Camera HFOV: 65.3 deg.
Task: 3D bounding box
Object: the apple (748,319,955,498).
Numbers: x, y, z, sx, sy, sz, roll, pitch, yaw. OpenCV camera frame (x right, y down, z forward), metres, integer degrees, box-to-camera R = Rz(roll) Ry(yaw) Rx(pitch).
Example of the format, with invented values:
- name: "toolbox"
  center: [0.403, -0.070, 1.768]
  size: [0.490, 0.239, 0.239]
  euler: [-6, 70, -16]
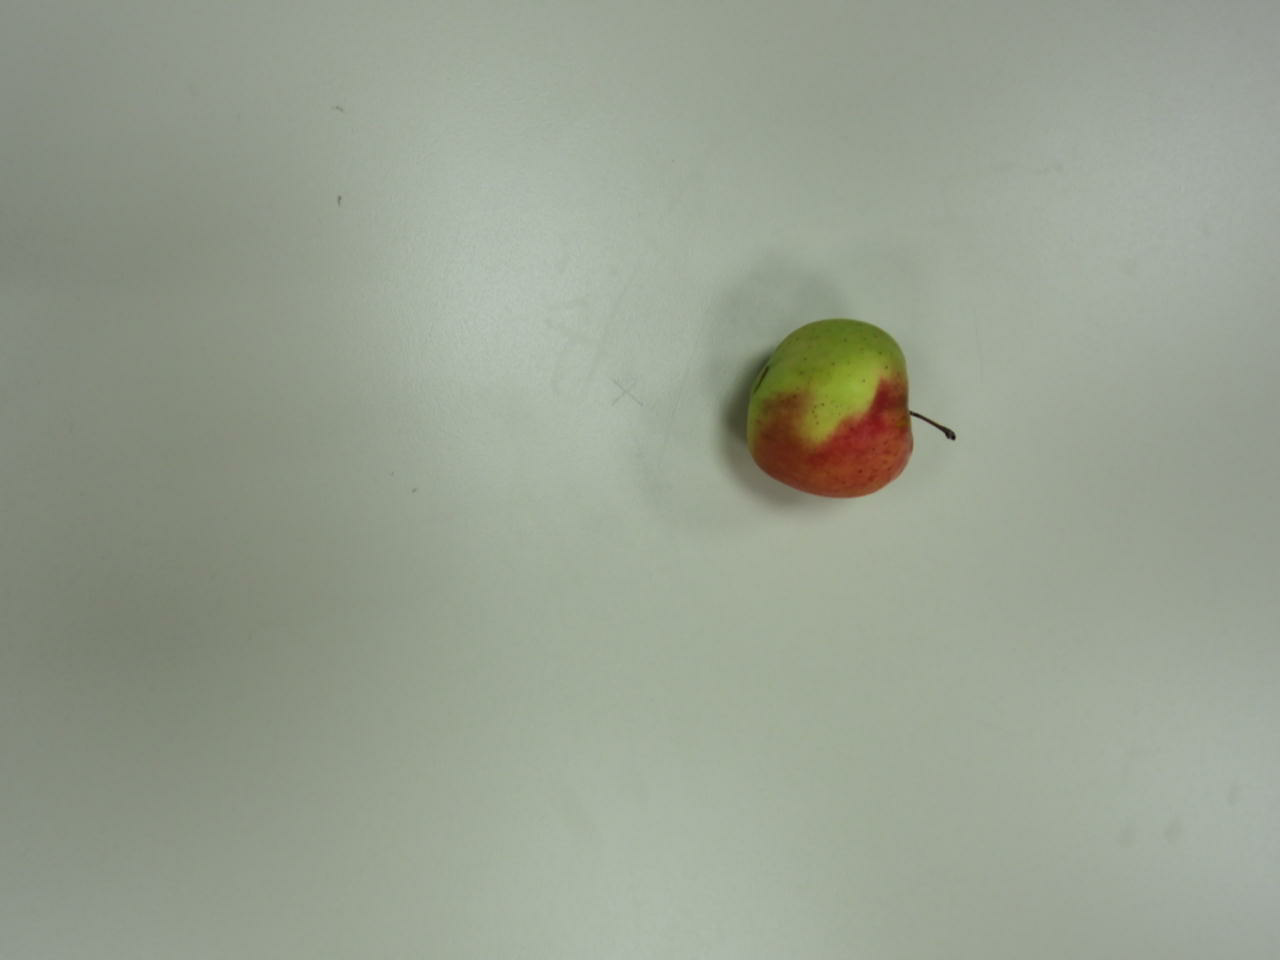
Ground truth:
- name: "apple"
  center: [0.081, -0.029, 0.420]
  size: [0.075, 0.074, 0.075]
  euler: [-30, 96, -10]
